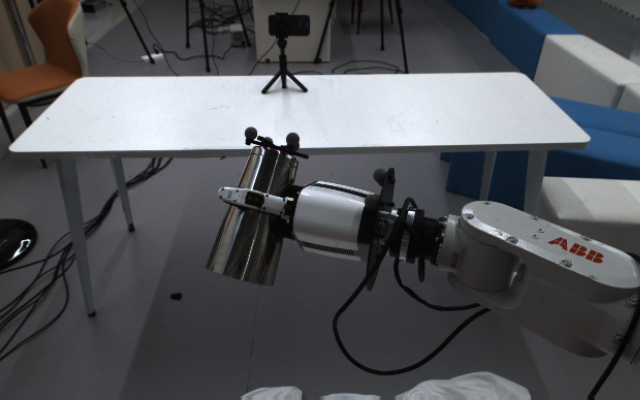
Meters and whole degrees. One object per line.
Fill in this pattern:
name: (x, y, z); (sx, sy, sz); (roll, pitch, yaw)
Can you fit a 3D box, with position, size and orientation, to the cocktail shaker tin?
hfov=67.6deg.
cocktail shaker tin: (-0.083, 0.020, 0.644); (0.093, 0.170, 0.093); (15, -6, 2)
